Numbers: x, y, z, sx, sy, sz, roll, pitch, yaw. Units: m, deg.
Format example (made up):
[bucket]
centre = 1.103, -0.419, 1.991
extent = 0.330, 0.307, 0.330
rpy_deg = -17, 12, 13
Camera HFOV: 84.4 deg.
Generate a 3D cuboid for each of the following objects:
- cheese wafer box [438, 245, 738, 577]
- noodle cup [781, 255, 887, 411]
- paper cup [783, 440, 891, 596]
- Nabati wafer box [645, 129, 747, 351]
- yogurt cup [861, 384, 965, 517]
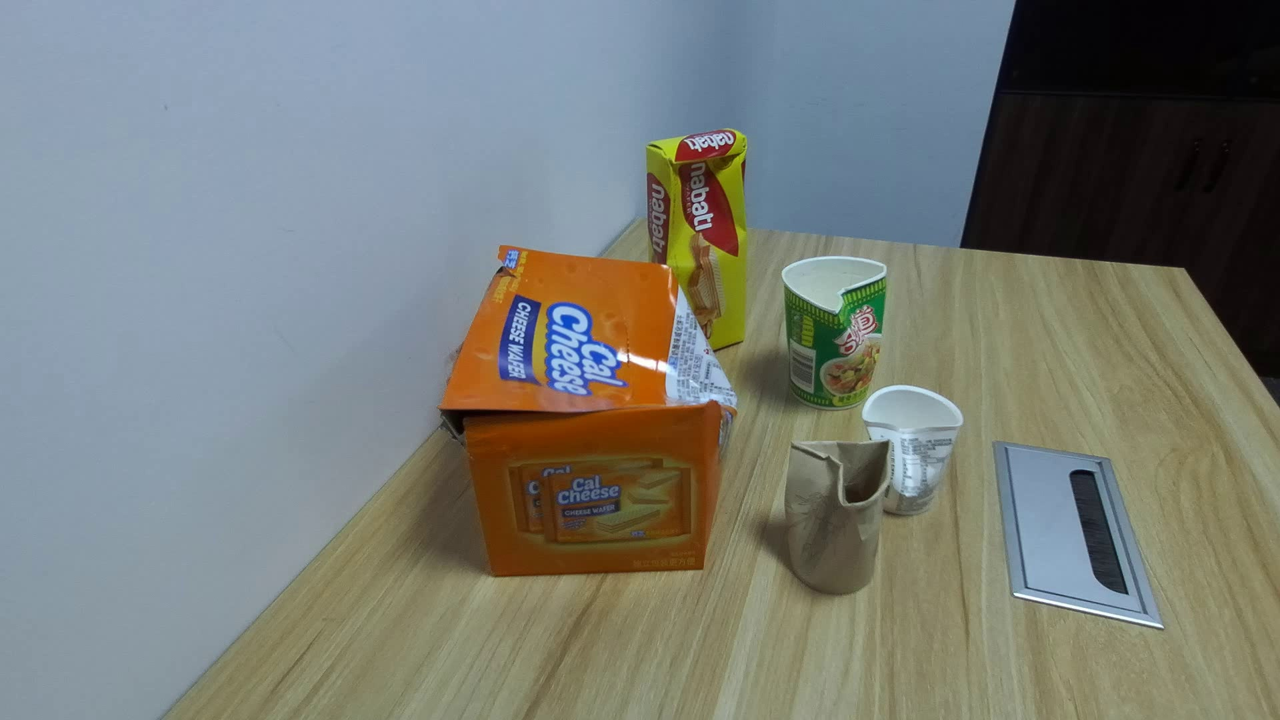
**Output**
[cheese wafer box]
centre = -0.022, 0.022, 0.519
extent = 0.191, 0.145, 0.218
rpy_deg = -3, 33, 0
[noodle cup]
centre = 0.165, -0.023, 0.605
extent = 0.094, 0.109, 0.086
rpy_deg = -19, 36, -23
[paper cup]
centre = 0.121, 0.097, 0.444
extent = 0.058, 0.083, 0.066
rpy_deg = 7, 33, 19
[Nabati wafer box]
centre = 0.055, -0.100, 0.651
extent = 0.097, 0.203, 0.042
rpy_deg = -16, 32, -25
[yogurt cup]
centre = 0.188, 0.065, 0.503
extent = 0.067, 0.070, 0.067
rpy_deg = 0, 32, 0
